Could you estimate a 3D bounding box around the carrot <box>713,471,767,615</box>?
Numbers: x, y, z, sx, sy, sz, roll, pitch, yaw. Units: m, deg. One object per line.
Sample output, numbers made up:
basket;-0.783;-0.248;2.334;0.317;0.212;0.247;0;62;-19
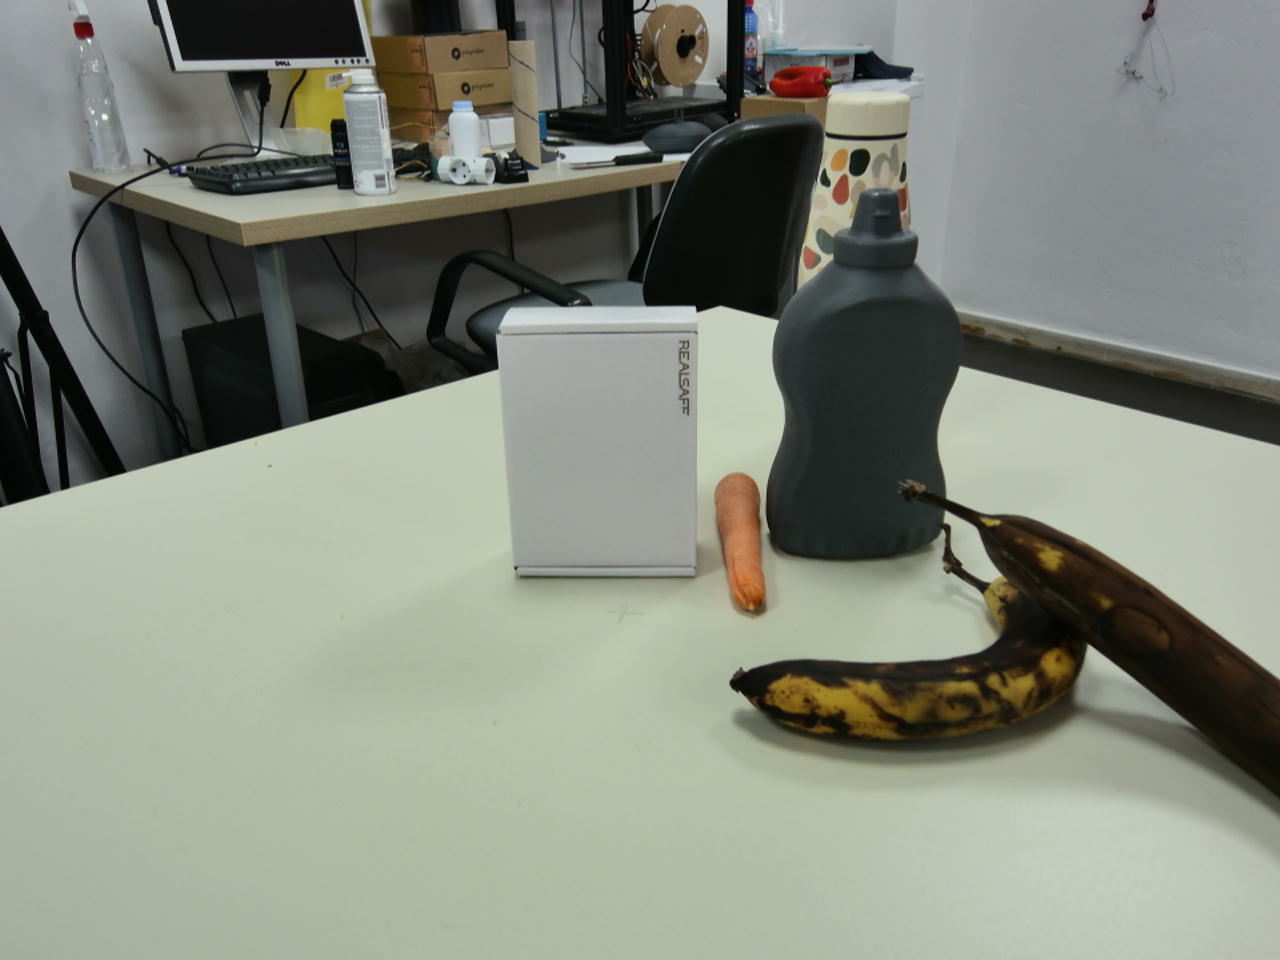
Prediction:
carrot;0.058;0.031;0.575;0.030;0.032;0.136;1;24;3
